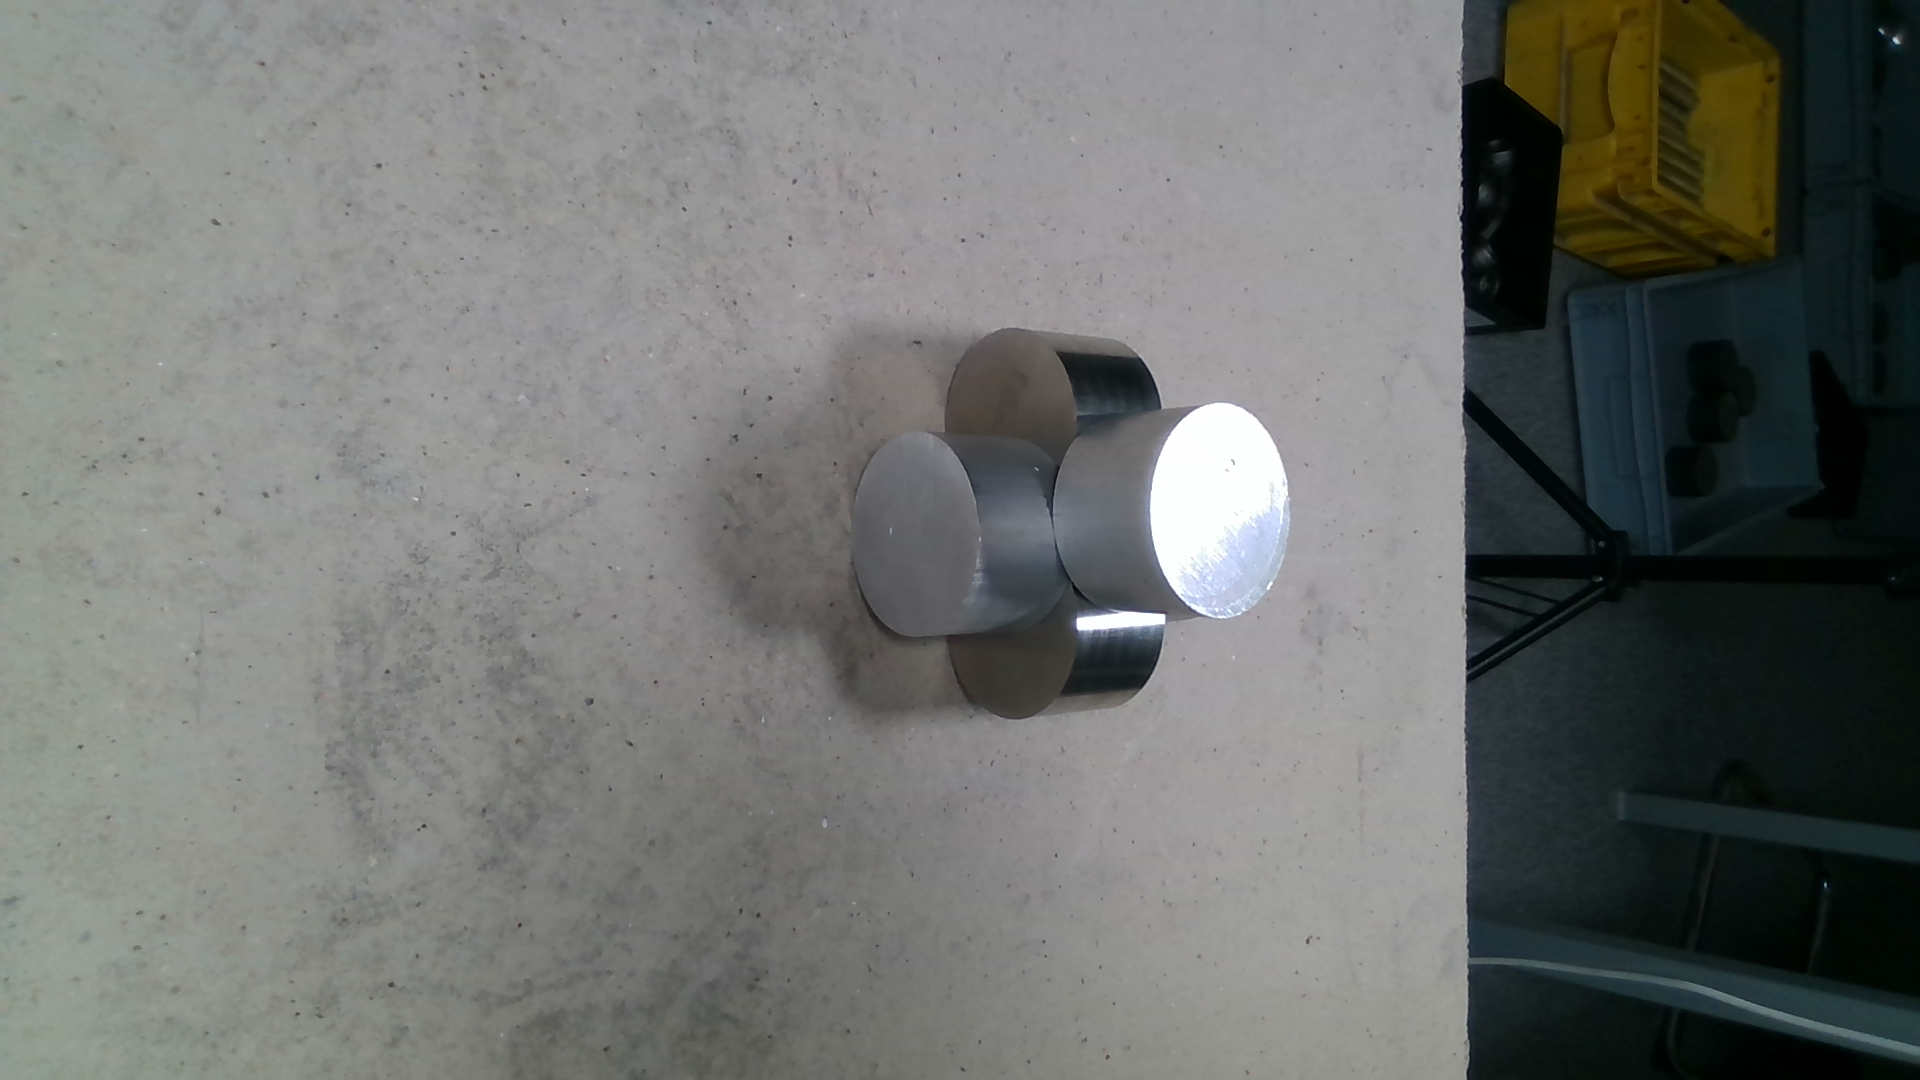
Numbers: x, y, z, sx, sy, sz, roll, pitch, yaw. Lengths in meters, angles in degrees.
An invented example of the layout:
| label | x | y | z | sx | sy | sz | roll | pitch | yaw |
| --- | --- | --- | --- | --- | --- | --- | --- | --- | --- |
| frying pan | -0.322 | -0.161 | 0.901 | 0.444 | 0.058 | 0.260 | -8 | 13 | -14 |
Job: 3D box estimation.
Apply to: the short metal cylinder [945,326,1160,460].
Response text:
| label | x | y | z | sx | sy | sz | roll | pitch | yaw |
| --- | --- | --- | --- | --- | --- | --- | --- | --- | --- |
| short metal cylinder | 0.038 | -0.048 | 0.580 | 0.050 | 0.080 | 0.080 | -2 | 91 | -40 |

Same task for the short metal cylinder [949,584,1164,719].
| label | x | y | z | sx | sy | sz | roll | pitch | yaw |
| --- | --- | --- | --- | --- | --- | --- | --- | --- | --- |
| short metal cylinder | 0.039 | 0.033 | 0.580 | 0.050 | 0.080 | 0.080 | -1 | 90 | -40 |

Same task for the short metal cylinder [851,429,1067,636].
| label | x | y | z | sx | sy | sz | roll | pitch | yaw |
| --- | --- | --- | --- | --- | --- | --- | --- | --- | --- |
| short metal cylinder | 0.000 | -0.003 | 0.548 | 0.050 | 0.080 | 0.080 | 0 | 90 | -40 |

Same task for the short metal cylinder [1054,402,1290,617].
| label | x | y | z | sx | sy | sz | roll | pitch | yaw |
| --- | --- | --- | --- | --- | --- | --- | --- | --- | --- |
| short metal cylinder | 0.082 | -0.011 | 0.531 | 0.080 | 0.050 | 0.080 | 0 | 90 | -40 |

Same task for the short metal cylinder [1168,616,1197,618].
| label | x | y | z | sx | sy | sz | roll | pitch | yaw |
| --- | --- | --- | --- | --- | --- | --- | --- | --- | --- |
| short metal cylinder | 0.078 | -0.003 | 0.614 | 0.050 | 0.080 | 0.080 | -2 | 92 | -40 |
